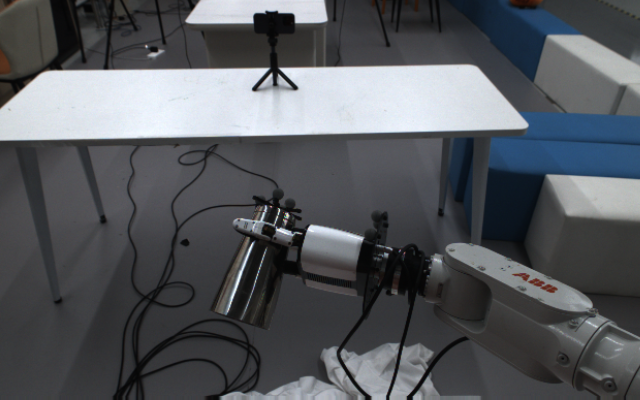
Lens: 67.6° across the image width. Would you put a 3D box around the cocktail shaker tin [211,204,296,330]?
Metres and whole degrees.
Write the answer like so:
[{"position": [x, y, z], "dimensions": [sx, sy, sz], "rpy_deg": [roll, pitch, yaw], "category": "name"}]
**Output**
[{"position": [-0.093, 0.095, 0.727], "dimensions": [0.093, 0.093, 0.170], "rpy_deg": [13, 71, 15], "category": "cocktail shaker tin"}]
